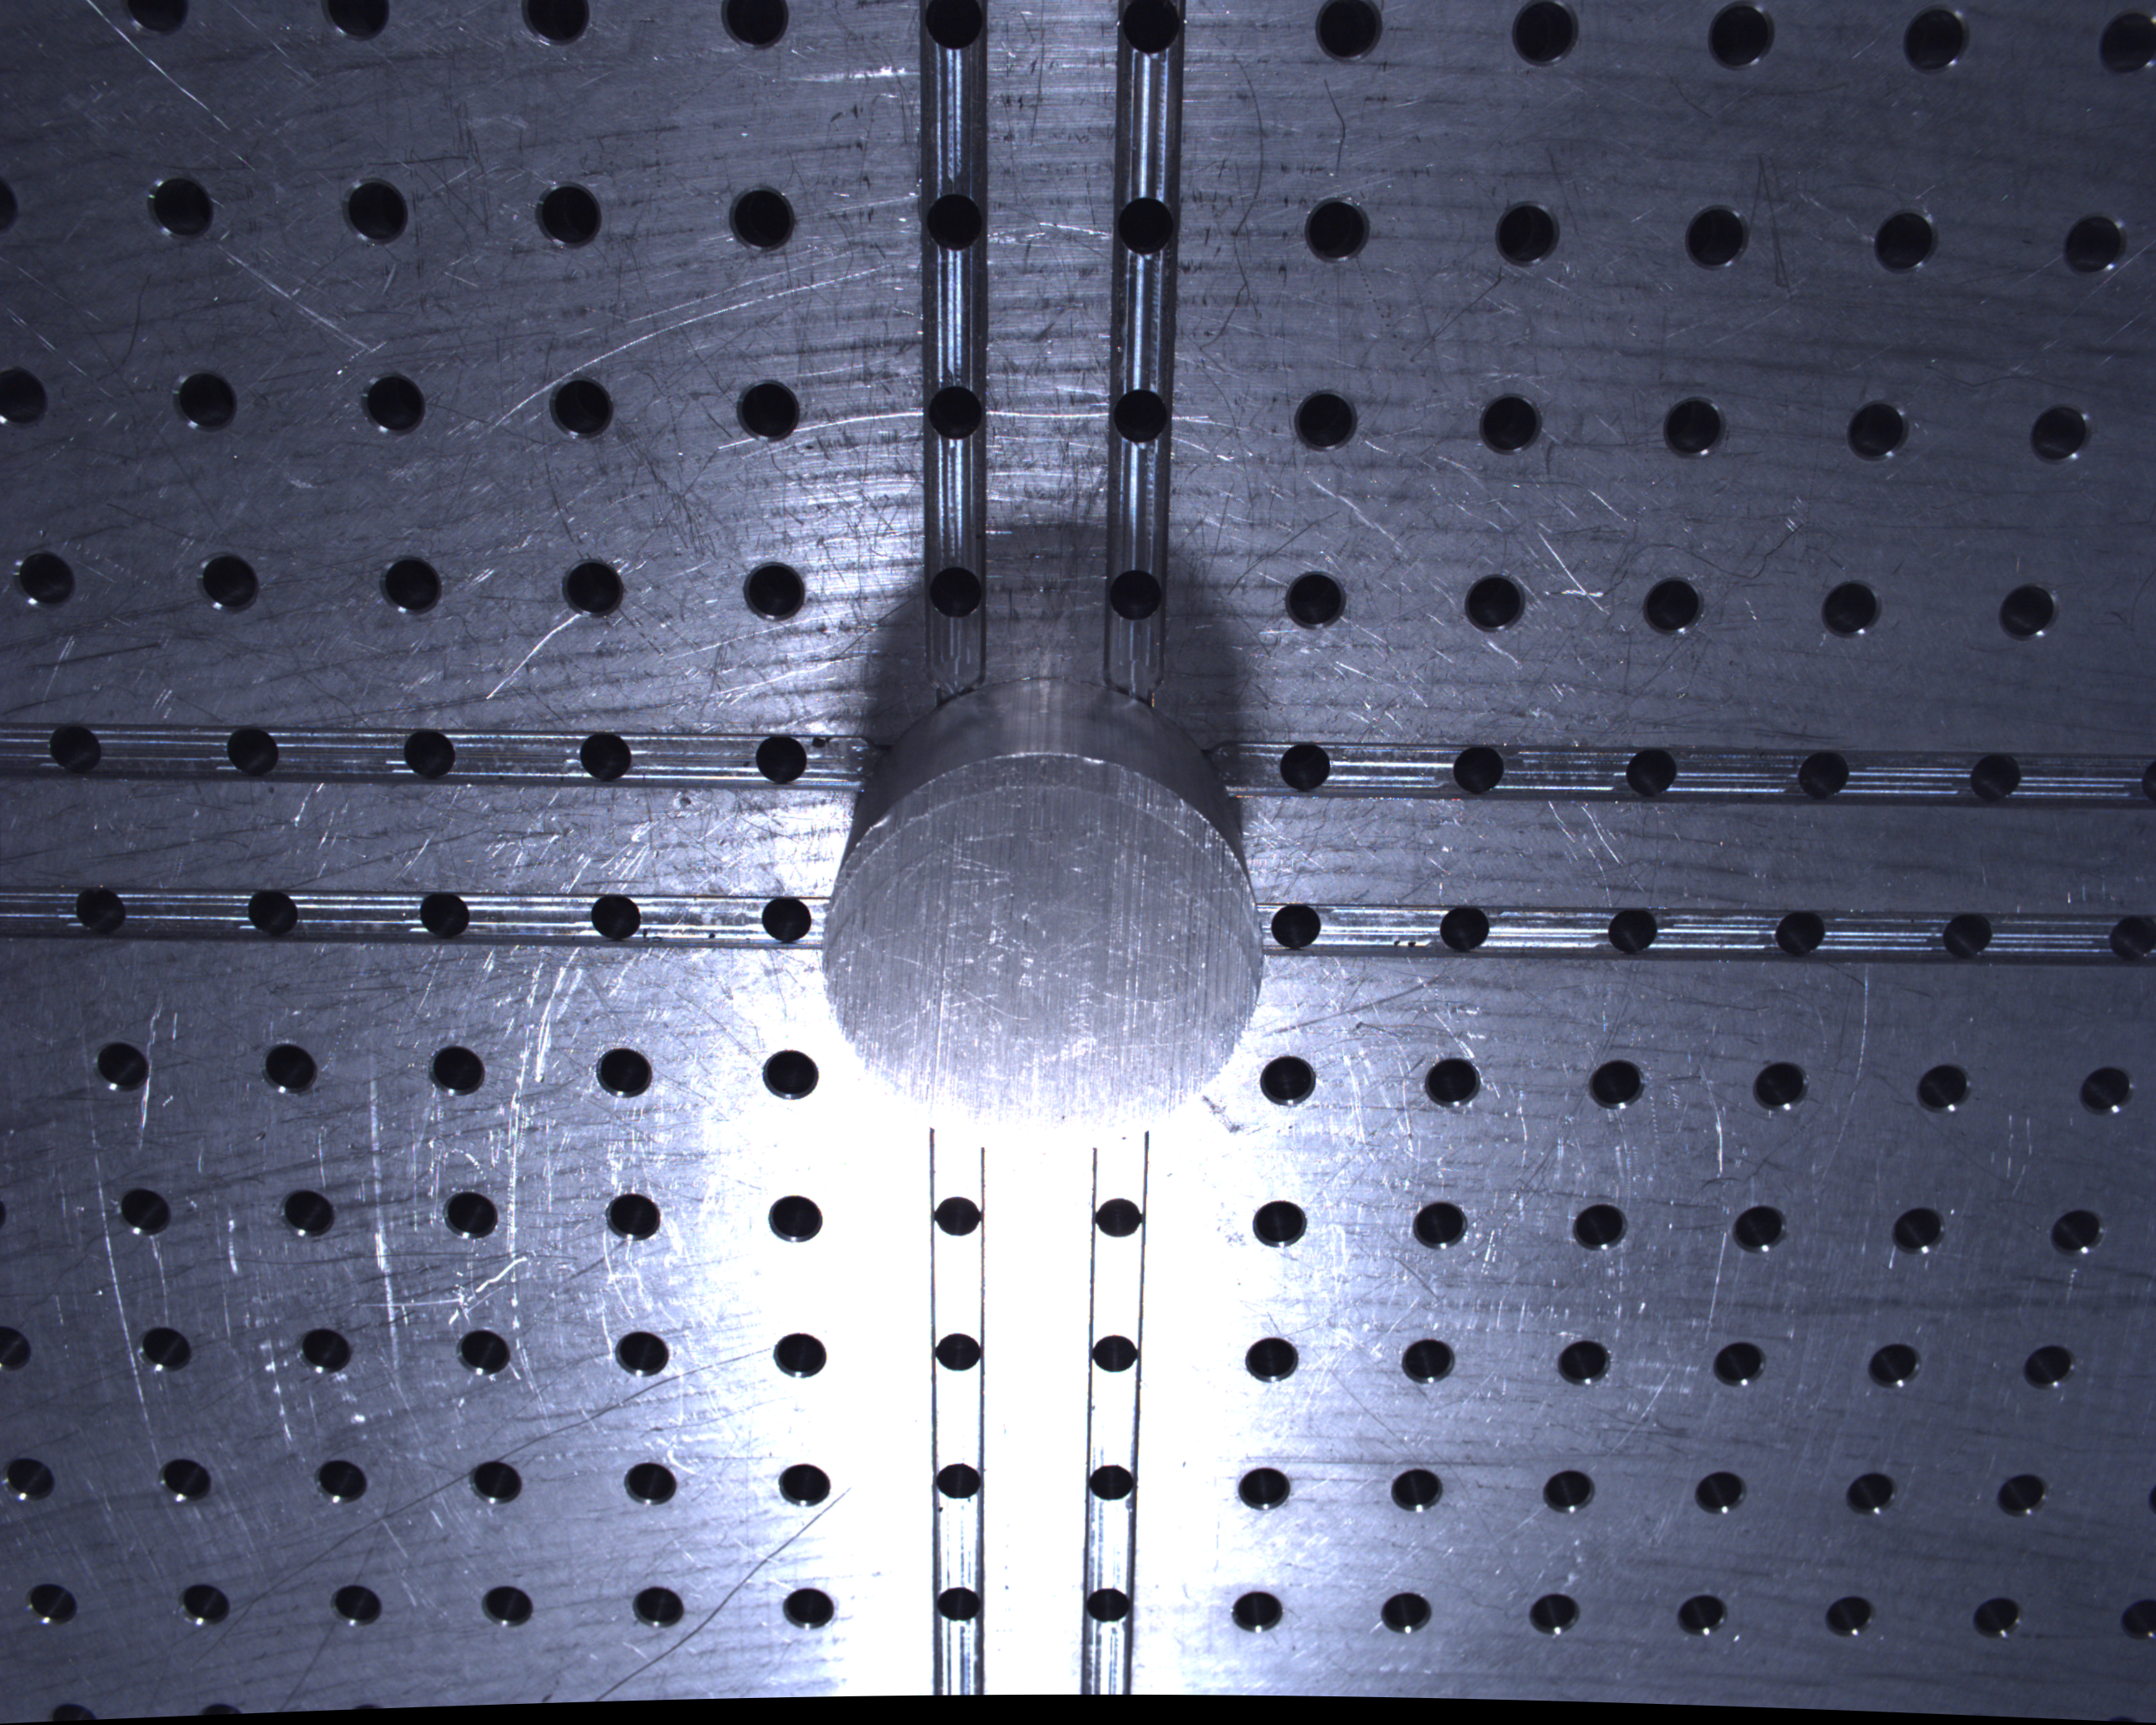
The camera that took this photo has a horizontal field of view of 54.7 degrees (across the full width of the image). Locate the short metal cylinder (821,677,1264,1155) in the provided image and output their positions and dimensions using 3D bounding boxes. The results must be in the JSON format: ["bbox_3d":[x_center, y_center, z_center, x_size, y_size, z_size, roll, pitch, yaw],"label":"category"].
[{"bbox_3d":[-0.006,0.009,0.403,0.081,0.050,0.079,0,110,-1],"label":"short metal cylinder"}]
